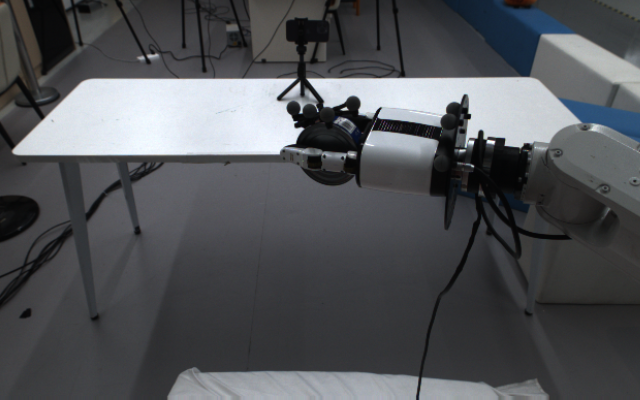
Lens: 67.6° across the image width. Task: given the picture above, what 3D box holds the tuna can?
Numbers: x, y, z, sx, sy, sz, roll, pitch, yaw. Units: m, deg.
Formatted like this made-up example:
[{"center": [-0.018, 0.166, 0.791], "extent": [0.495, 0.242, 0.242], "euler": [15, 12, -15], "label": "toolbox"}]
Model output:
[{"center": [0.017, -0.063, 0.614], "extent": [0.085, 0.085, 0.034], "euler": [15, 34, 17], "label": "tuna can"}]
